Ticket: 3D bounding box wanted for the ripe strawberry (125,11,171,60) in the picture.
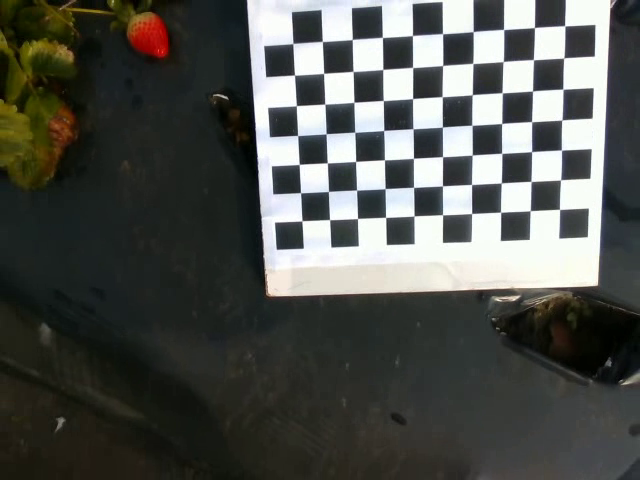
[{"bbox_3d":[-0.138,-0.163,0.485,0.035,0.043,0.029,-39,2,8],"label":"ripe strawberry"}]
